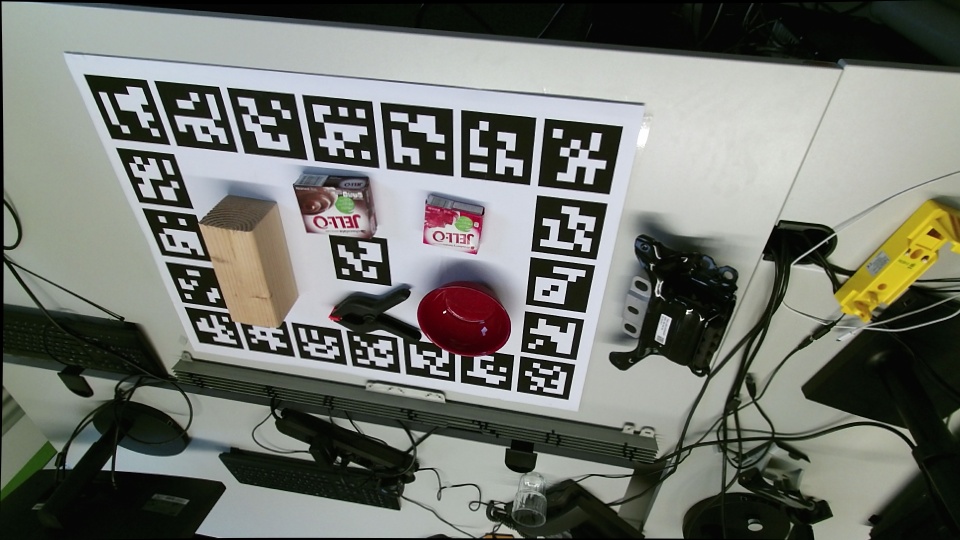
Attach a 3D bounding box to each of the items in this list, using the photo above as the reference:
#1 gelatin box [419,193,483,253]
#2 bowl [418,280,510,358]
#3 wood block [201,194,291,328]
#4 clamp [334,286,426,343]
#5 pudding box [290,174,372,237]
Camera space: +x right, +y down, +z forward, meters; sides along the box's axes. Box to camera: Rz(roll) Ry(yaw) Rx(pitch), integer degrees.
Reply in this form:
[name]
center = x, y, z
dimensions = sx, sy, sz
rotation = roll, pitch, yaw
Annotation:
[gelatin box]
center = -0.045, -0.071, 0.819
dimensions = 0.089, 0.030, 0.073
rotation = 13, 125, 2
[bowl]
center = -0.026, 0.073, 0.914
dimensions = 0.162, 0.055, 0.161
rotation = 6, 124, 9
[wood block]
center = -0.394, -0.011, 0.900
dimensions = 0.090, 0.090, 0.206
rotation = 10, 127, 6
[clamp]
center = -0.184, 0.082, 0.967
dimensions = 0.165, 0.036, 0.122
rotation = -1, 125, 15
[pudding box]
center = -0.229, -0.101, 0.833
dimensions = 0.114, 0.038, 0.090
rotation = 5, 122, 6
